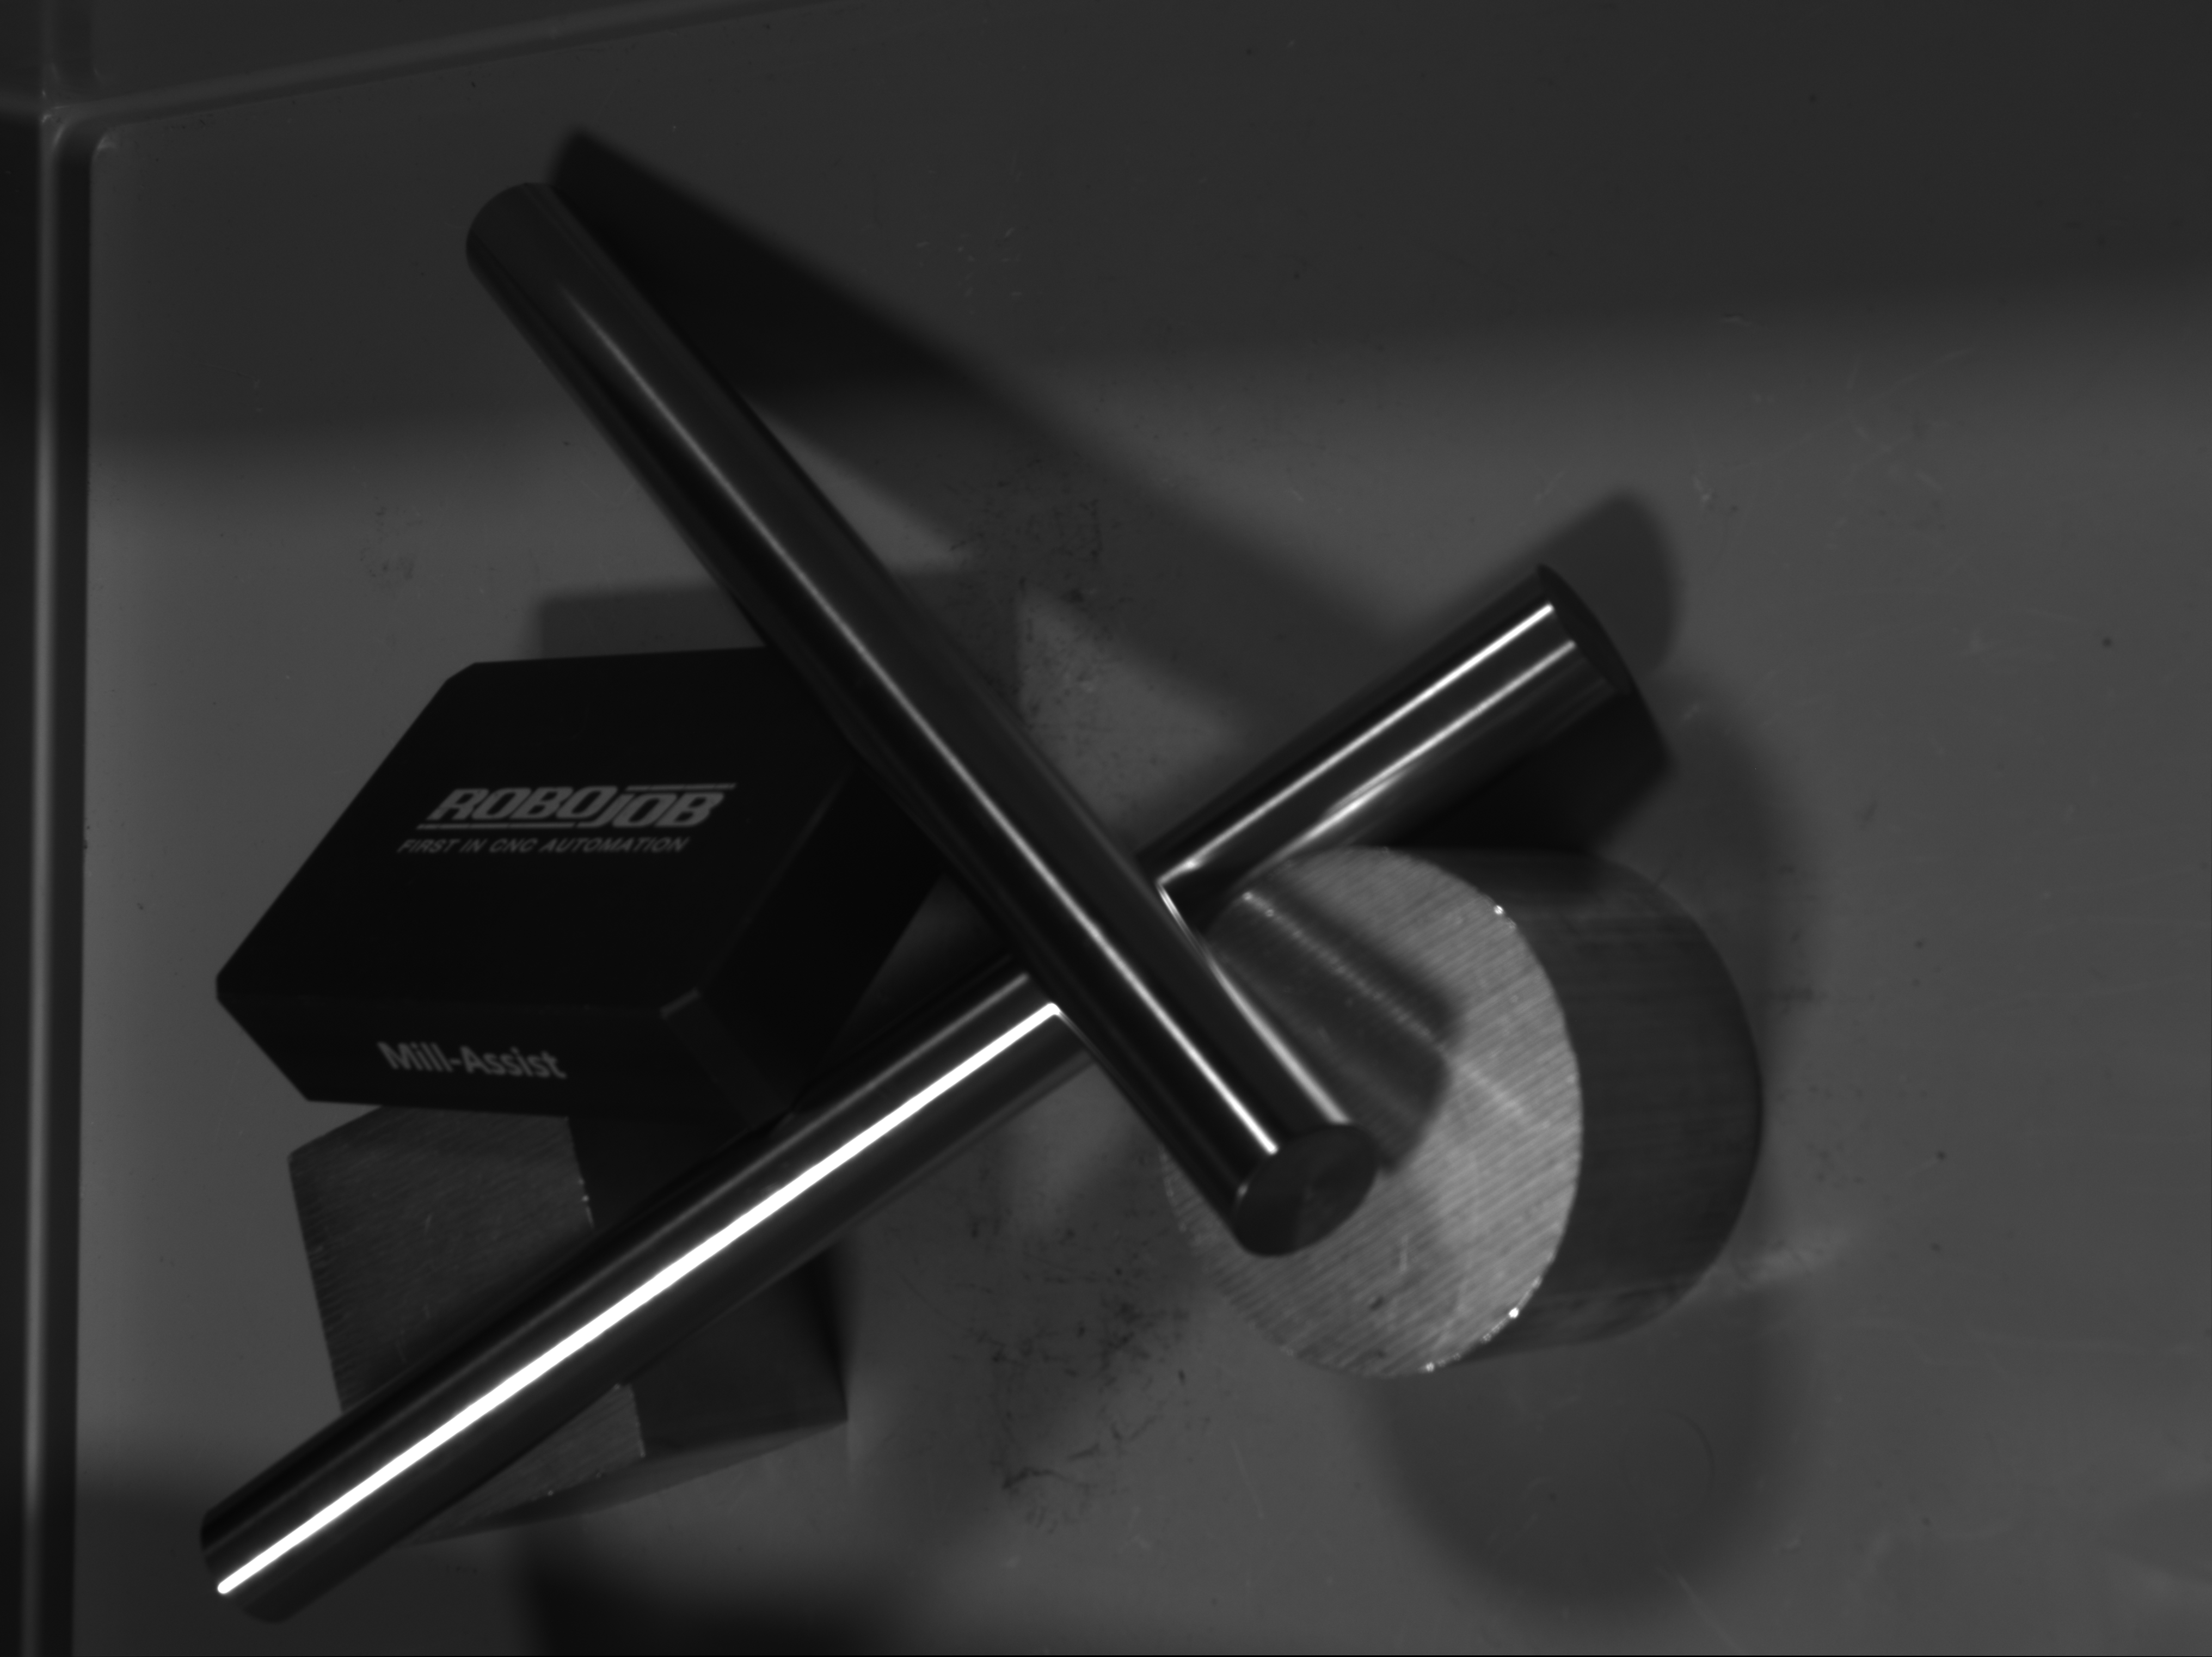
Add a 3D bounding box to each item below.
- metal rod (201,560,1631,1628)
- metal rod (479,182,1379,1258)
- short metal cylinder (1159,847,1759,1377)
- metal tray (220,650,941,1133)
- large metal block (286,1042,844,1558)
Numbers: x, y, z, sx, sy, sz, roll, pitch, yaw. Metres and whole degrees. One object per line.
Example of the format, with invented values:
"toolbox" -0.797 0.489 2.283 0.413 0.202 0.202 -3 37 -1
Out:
"metal rod" -0.040 0.051 0.620 0.300 0.025 0.025 -36 67 19
"metal rod" -0.042 -0.033 0.632 0.299 0.025 0.025 50 120 42
"short metal cylinder" 0.054 0.043 0.573 0.080 0.050 0.080 0 90 39
"metal tray" -0.092 0.009 0.671 0.130 0.030 0.090 0 46 41
"large metal block" -0.104 0.089 0.700 0.080 0.050 0.080 -24 75 37
